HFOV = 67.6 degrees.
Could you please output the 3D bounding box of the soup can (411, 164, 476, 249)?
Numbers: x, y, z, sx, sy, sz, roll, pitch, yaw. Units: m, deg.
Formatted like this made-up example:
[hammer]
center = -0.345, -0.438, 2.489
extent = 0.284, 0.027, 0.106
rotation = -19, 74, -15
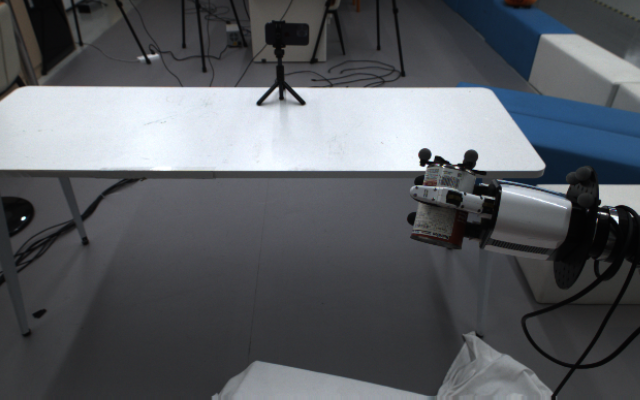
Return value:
[soup can]
center = 0.167, 0.008, 0.648
extent = 0.067, 0.101, 0.067
rotation = 13, -6, 1
